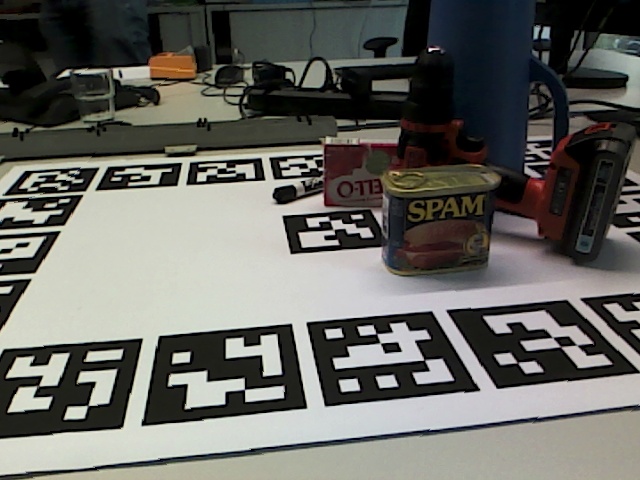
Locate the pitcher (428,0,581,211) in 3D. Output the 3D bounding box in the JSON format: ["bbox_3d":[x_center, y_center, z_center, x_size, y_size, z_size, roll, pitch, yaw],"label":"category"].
[{"bbox_3d":[0.195,-0.162,0.699,0.190,0.242,0.133,5,31,25],"label":"pitcher"}]

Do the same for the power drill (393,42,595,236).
[{"bbox_3d":[0.164,-0.090,0.613,0.188,0.184,0.057,17,35,21],"label":"power drill"}]

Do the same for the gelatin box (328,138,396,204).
[{"bbox_3d":[0.055,-0.079,0.714,0.089,0.073,0.030,1,32,2],"label":"gelatin box"}]

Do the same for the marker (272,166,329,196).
[{"bbox_3d":[-0.007,-0.078,0.767,0.120,0.019,0.020,-20,34,-30],"label":"marker"}]

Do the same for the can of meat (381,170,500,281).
[{"bbox_3d":[0.108,-0.014,0.570,0.101,0.083,0.058,-5,26,-8],"label":"can of meat"}]
